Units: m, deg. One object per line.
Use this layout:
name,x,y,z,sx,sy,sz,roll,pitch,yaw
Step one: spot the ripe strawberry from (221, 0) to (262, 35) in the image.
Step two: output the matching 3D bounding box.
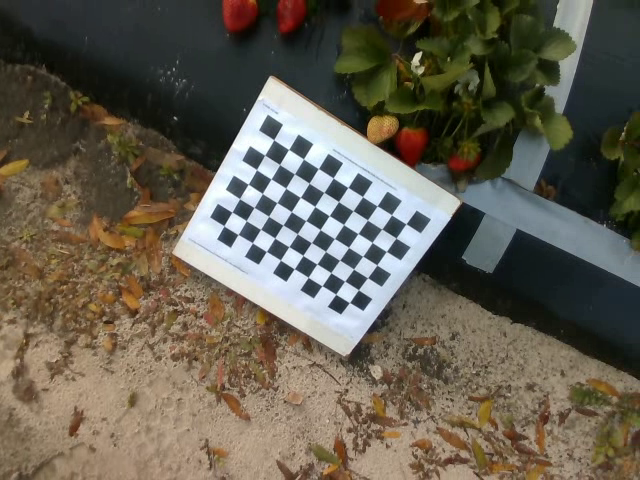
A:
ripe strawberry,-0.109,-0.286,0.690,0.050,0.061,0.045,22,-17,2

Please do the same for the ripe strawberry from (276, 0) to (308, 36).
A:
ripe strawberry,-0.043,-0.286,0.690,0.042,0.053,0.034,17,-14,4
